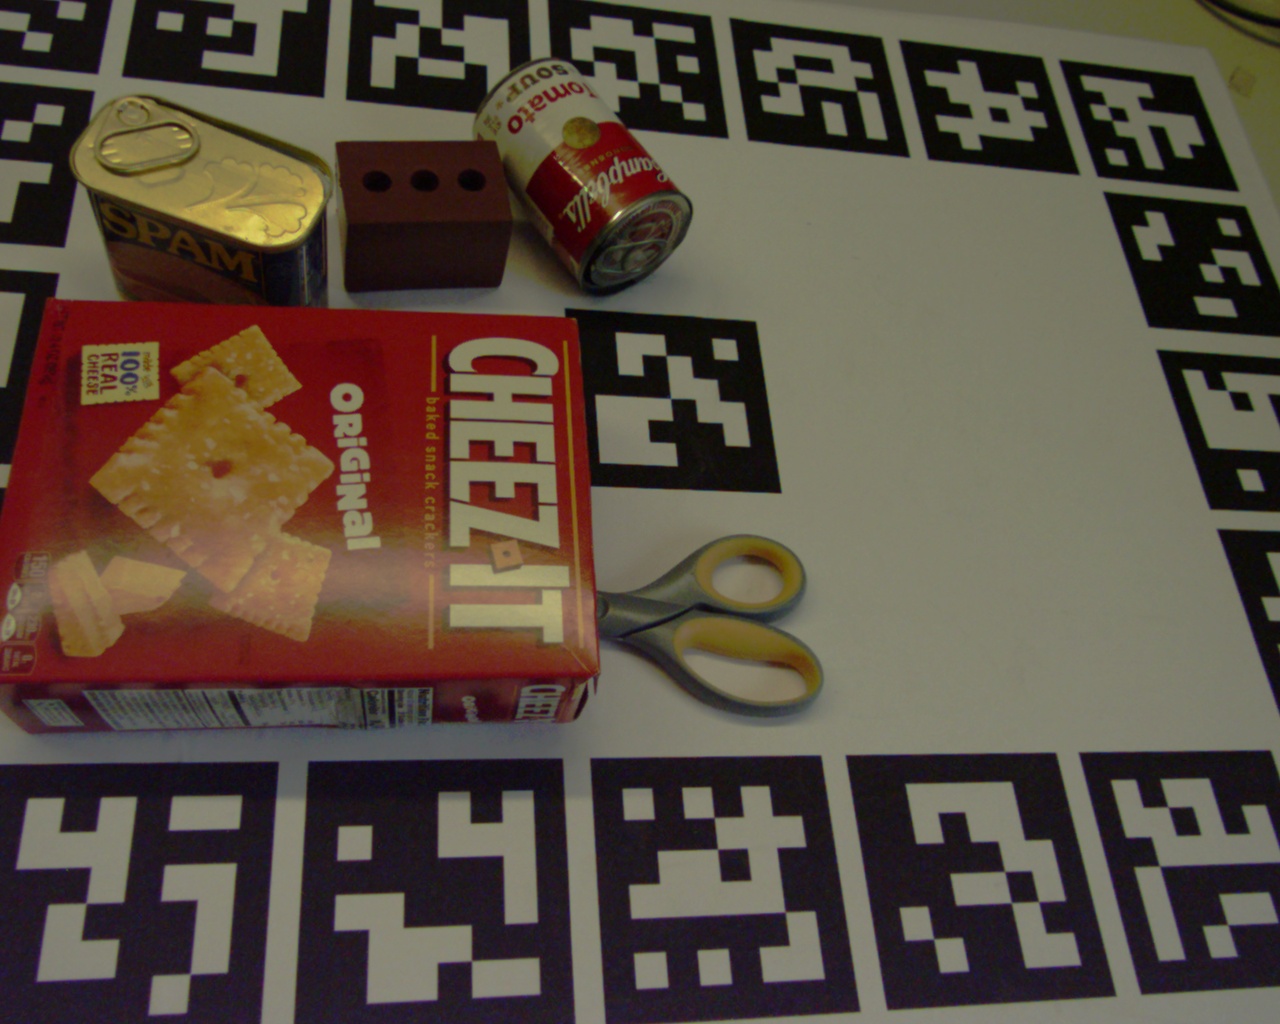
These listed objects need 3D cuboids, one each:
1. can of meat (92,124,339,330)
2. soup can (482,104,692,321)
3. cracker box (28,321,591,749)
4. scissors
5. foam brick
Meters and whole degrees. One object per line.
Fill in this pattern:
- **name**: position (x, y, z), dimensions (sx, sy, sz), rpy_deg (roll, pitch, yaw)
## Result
- **can of meat**: position (-0.196, -0.124, 0.540), dimensions (0.101, 0.084, 0.058), rpy_deg (16, 63, -6)
- **soup can**: position (-0.030, -0.162, 0.616), dimensions (0.067, 0.068, 0.103), rpy_deg (-35, 72, -25)
- **cracker box**: position (-0.136, 0.003, 0.485), dimensions (0.212, 0.072, 0.165), rpy_deg (-4, 65, -10)
- **scissors**: position (-0.029, 0.053, 0.520), dimensions (0.201, 0.016, 0.088), rpy_deg (-2, 66, -13)
- **foam brick**: position (-0.109, -0.141, 0.589), dimensions (0.077, 0.051, 0.053), rpy_deg (-7, 68, -16)
